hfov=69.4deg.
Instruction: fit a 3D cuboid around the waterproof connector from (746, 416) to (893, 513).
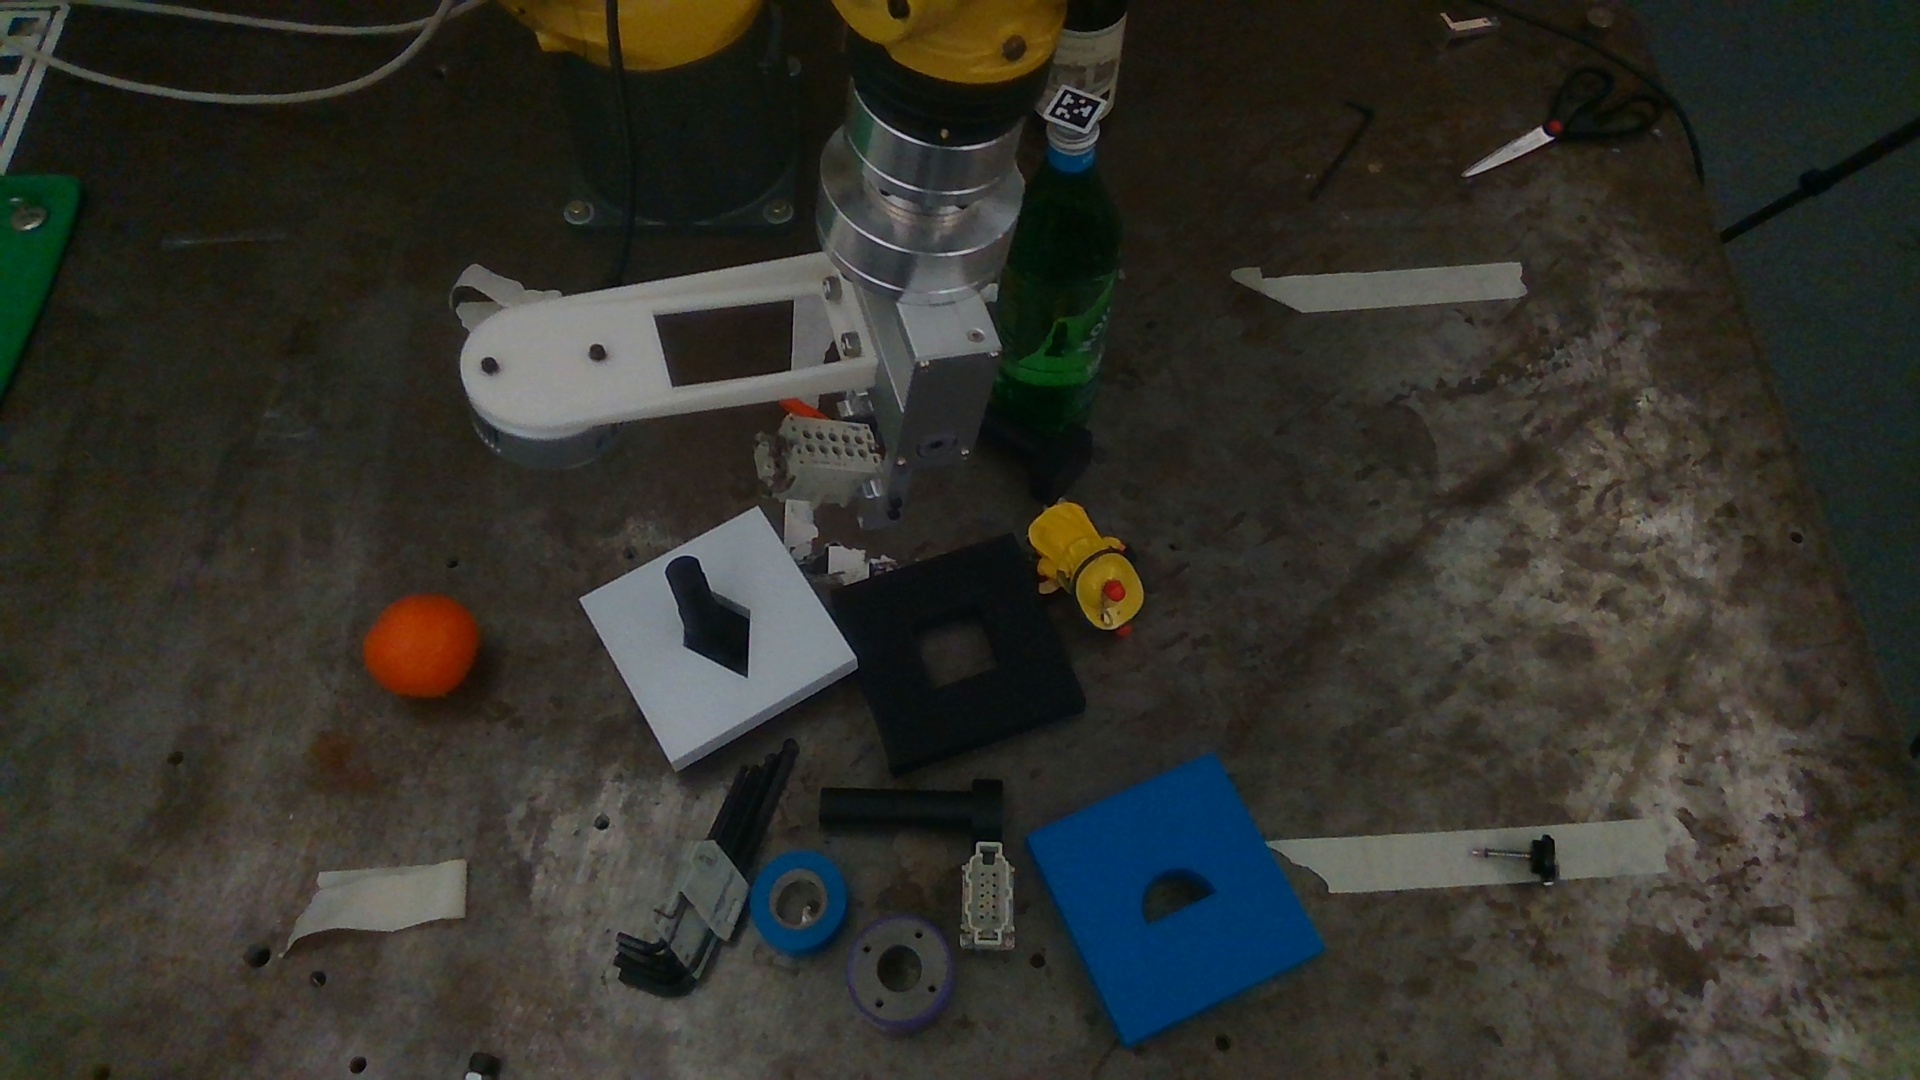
[{"bbox_3d":[-0.066,-0.034,0.665,0.069,0.039,0.037,1,55,-30],"label":"waterproof connector"}]
